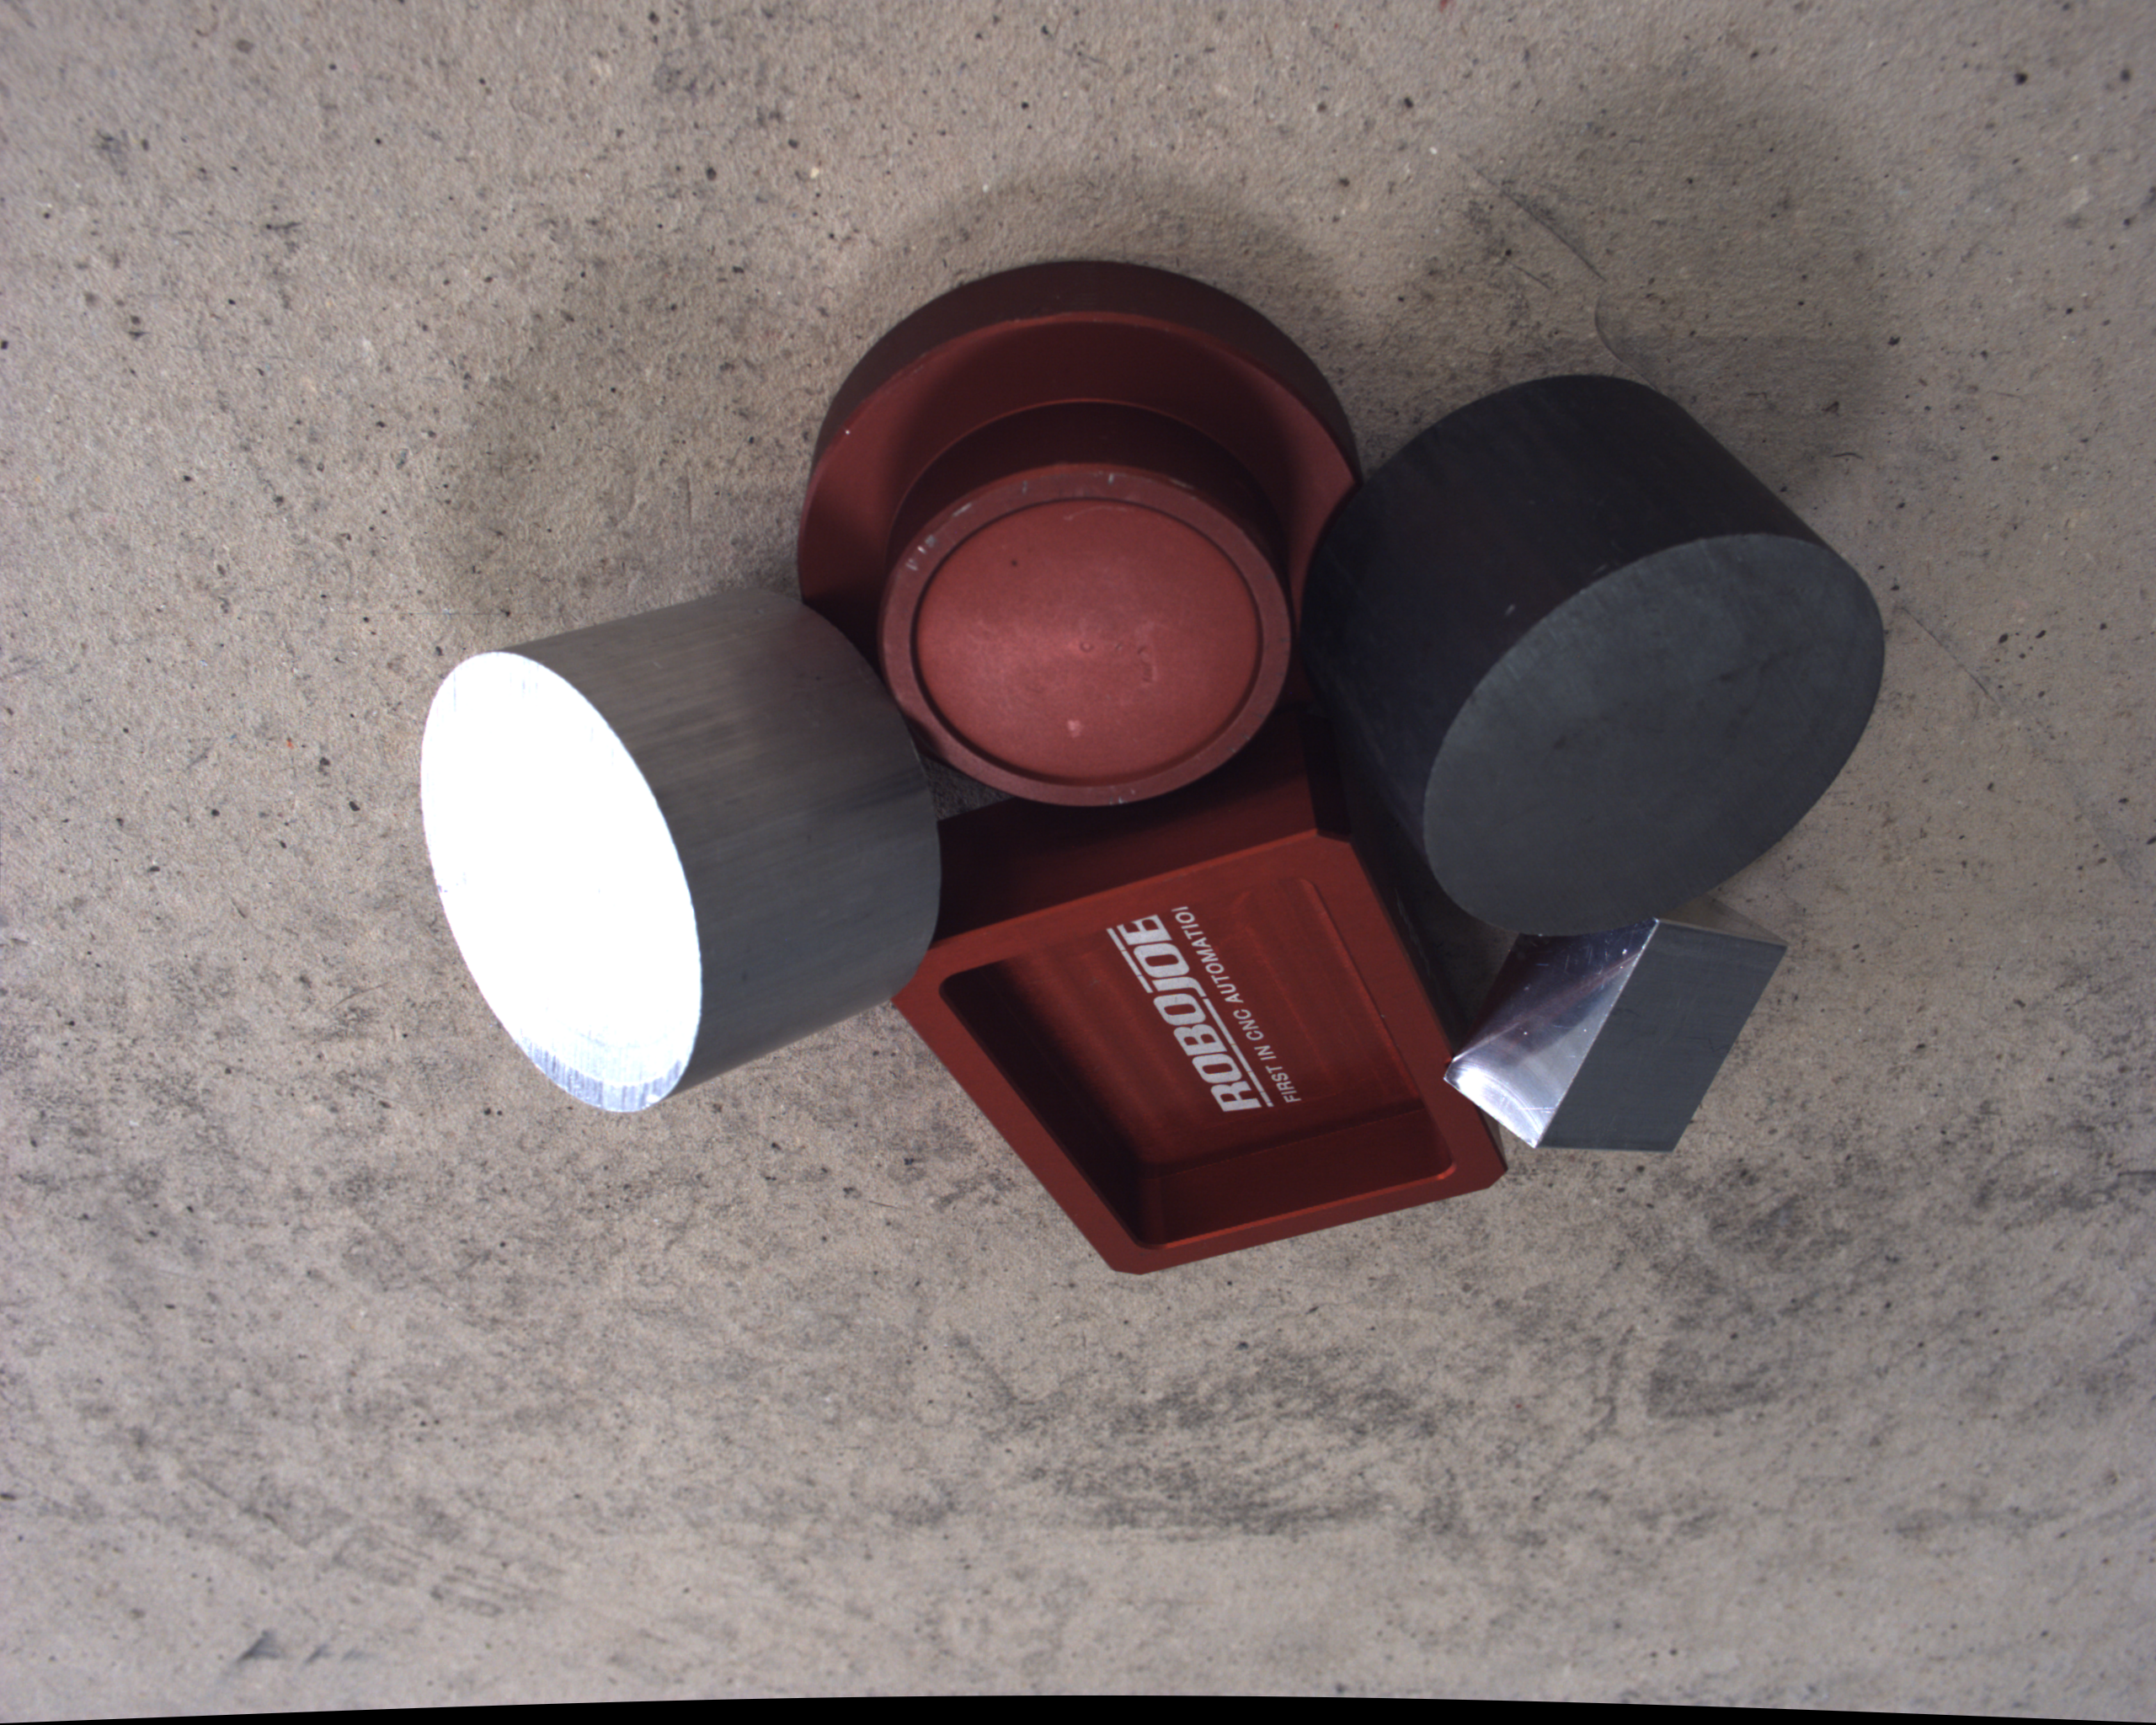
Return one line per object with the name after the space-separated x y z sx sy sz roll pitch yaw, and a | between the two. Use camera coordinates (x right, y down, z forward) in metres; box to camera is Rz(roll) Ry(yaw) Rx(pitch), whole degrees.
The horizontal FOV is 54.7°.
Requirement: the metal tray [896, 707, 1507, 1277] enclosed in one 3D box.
0.026 0.032 0.418 0.090 0.030 0.130 -17 138 14 | metal tray

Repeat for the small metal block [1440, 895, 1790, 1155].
0.106 0.029 0.411 0.050 0.025 0.050 11 110 -44 | small metal block

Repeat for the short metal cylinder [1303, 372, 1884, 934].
0.085 -0.034 0.350 0.081 0.050 0.079 -12 134 -13 | short metal cylinder

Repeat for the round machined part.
0.001 -0.049 0.357 0.099 0.042 0.097 0 130 0 | round machined part

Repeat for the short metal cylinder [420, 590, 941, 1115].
-0.070 -0.003 0.361 0.050 0.080 0.079 -23 146 -41 | short metal cylinder
